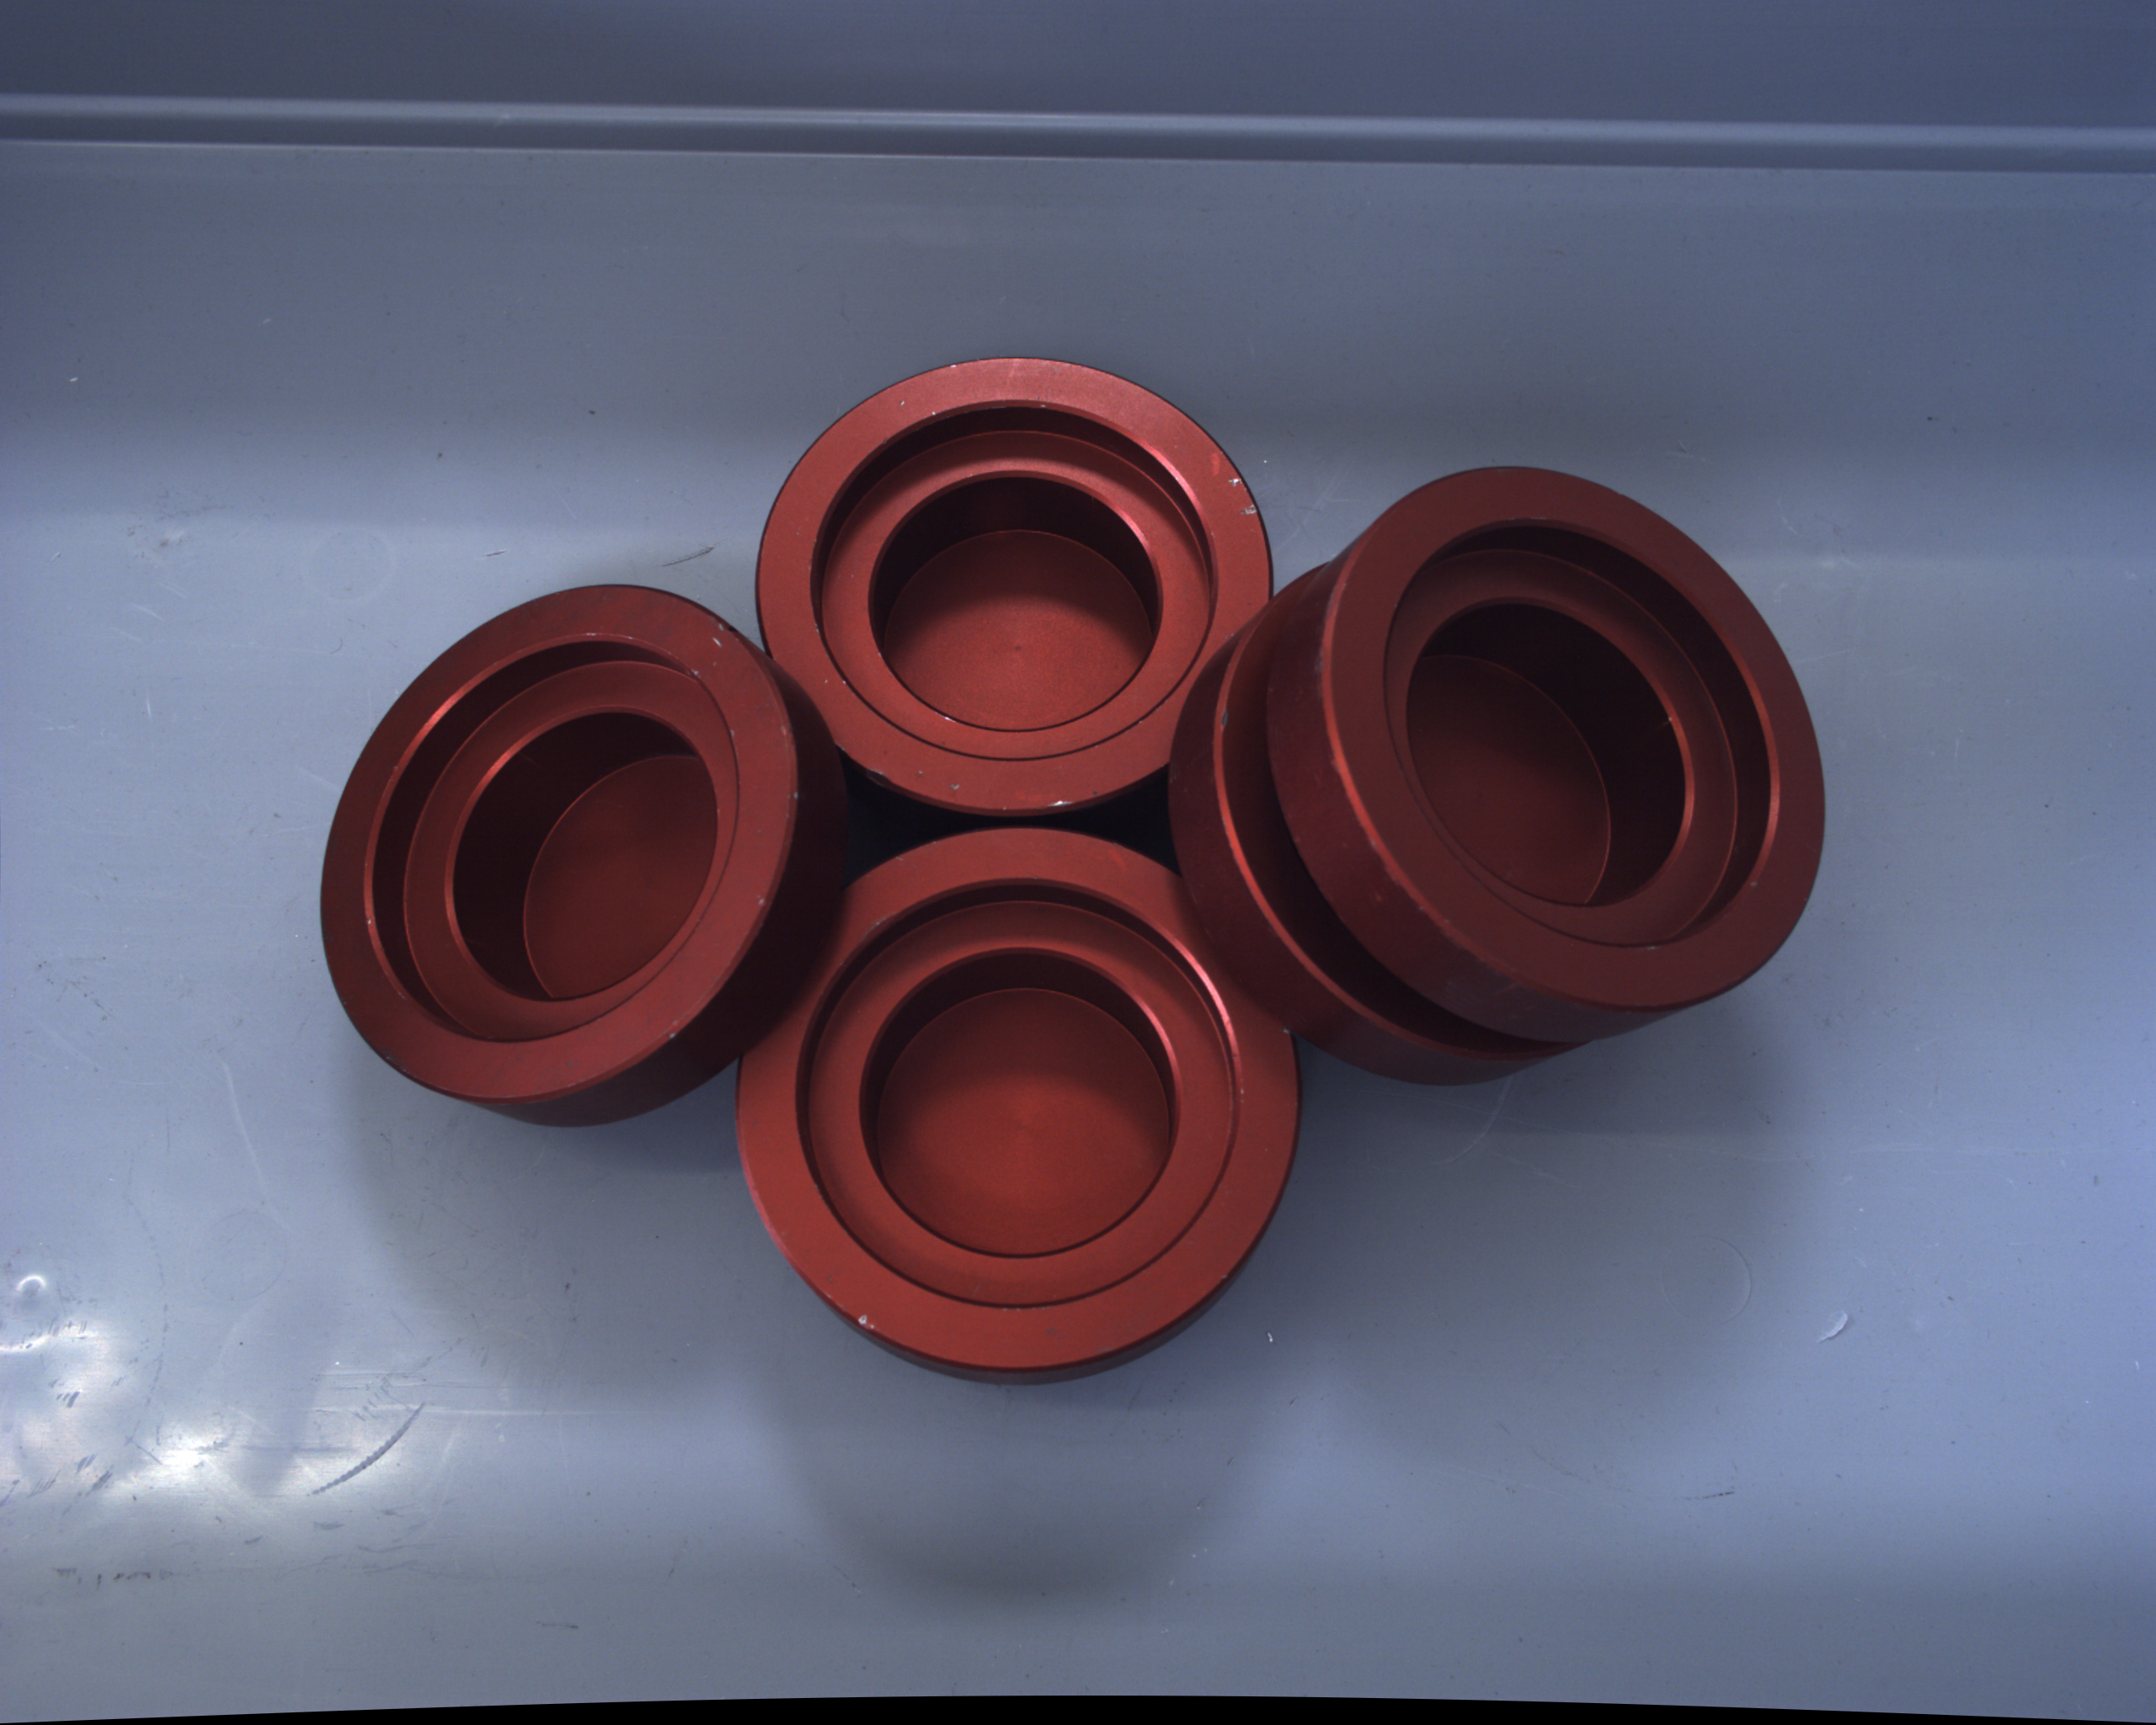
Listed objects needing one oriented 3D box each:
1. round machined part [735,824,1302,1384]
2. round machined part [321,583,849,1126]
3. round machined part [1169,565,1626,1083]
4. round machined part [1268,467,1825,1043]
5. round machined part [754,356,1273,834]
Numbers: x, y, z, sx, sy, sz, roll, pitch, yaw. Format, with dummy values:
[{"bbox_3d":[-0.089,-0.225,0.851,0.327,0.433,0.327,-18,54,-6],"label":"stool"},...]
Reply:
[{"bbox_3d":[-0.010,0.045,0.381,0.099,0.042,0.098,0,70,0],"label":"round machined part"},{"bbox_3d":[-0.086,0.001,0.387,0.098,0.042,0.098,-7,68,19],"label":"round machined part"},{"bbox_3d":[0.061,-0.006,0.390,0.099,0.042,0.098,8,68,-21],"label":"round machined part"},{"bbox_3d":[0.077,-0.016,0.364,0.099,0.042,0.098,8,68,-21],"label":"round machined part"},{"bbox_3d":[-0.012,-0.048,0.416,0.099,0.042,0.098,0,70,0],"label":"round machined part"}]
